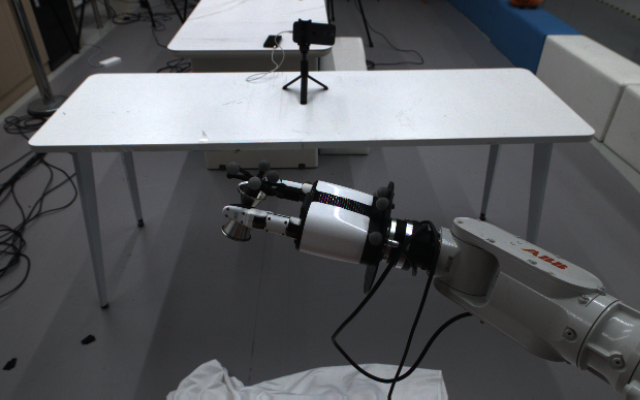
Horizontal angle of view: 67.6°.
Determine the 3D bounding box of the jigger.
[{"bbox_3d":[-0.105,0.017,0.668,0.043,0.071,0.043,23,19,-8],"label":"jigger"}]
